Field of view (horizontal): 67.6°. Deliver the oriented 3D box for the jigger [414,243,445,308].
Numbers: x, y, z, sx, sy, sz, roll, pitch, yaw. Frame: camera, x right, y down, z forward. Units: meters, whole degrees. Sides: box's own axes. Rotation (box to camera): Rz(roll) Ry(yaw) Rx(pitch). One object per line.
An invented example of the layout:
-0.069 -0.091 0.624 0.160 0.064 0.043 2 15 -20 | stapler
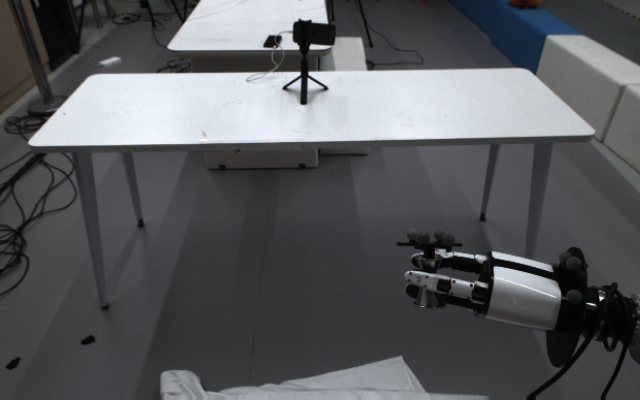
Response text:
0.153 0.111 0.681 0.043 0.071 0.043 -1 2 0 | jigger
